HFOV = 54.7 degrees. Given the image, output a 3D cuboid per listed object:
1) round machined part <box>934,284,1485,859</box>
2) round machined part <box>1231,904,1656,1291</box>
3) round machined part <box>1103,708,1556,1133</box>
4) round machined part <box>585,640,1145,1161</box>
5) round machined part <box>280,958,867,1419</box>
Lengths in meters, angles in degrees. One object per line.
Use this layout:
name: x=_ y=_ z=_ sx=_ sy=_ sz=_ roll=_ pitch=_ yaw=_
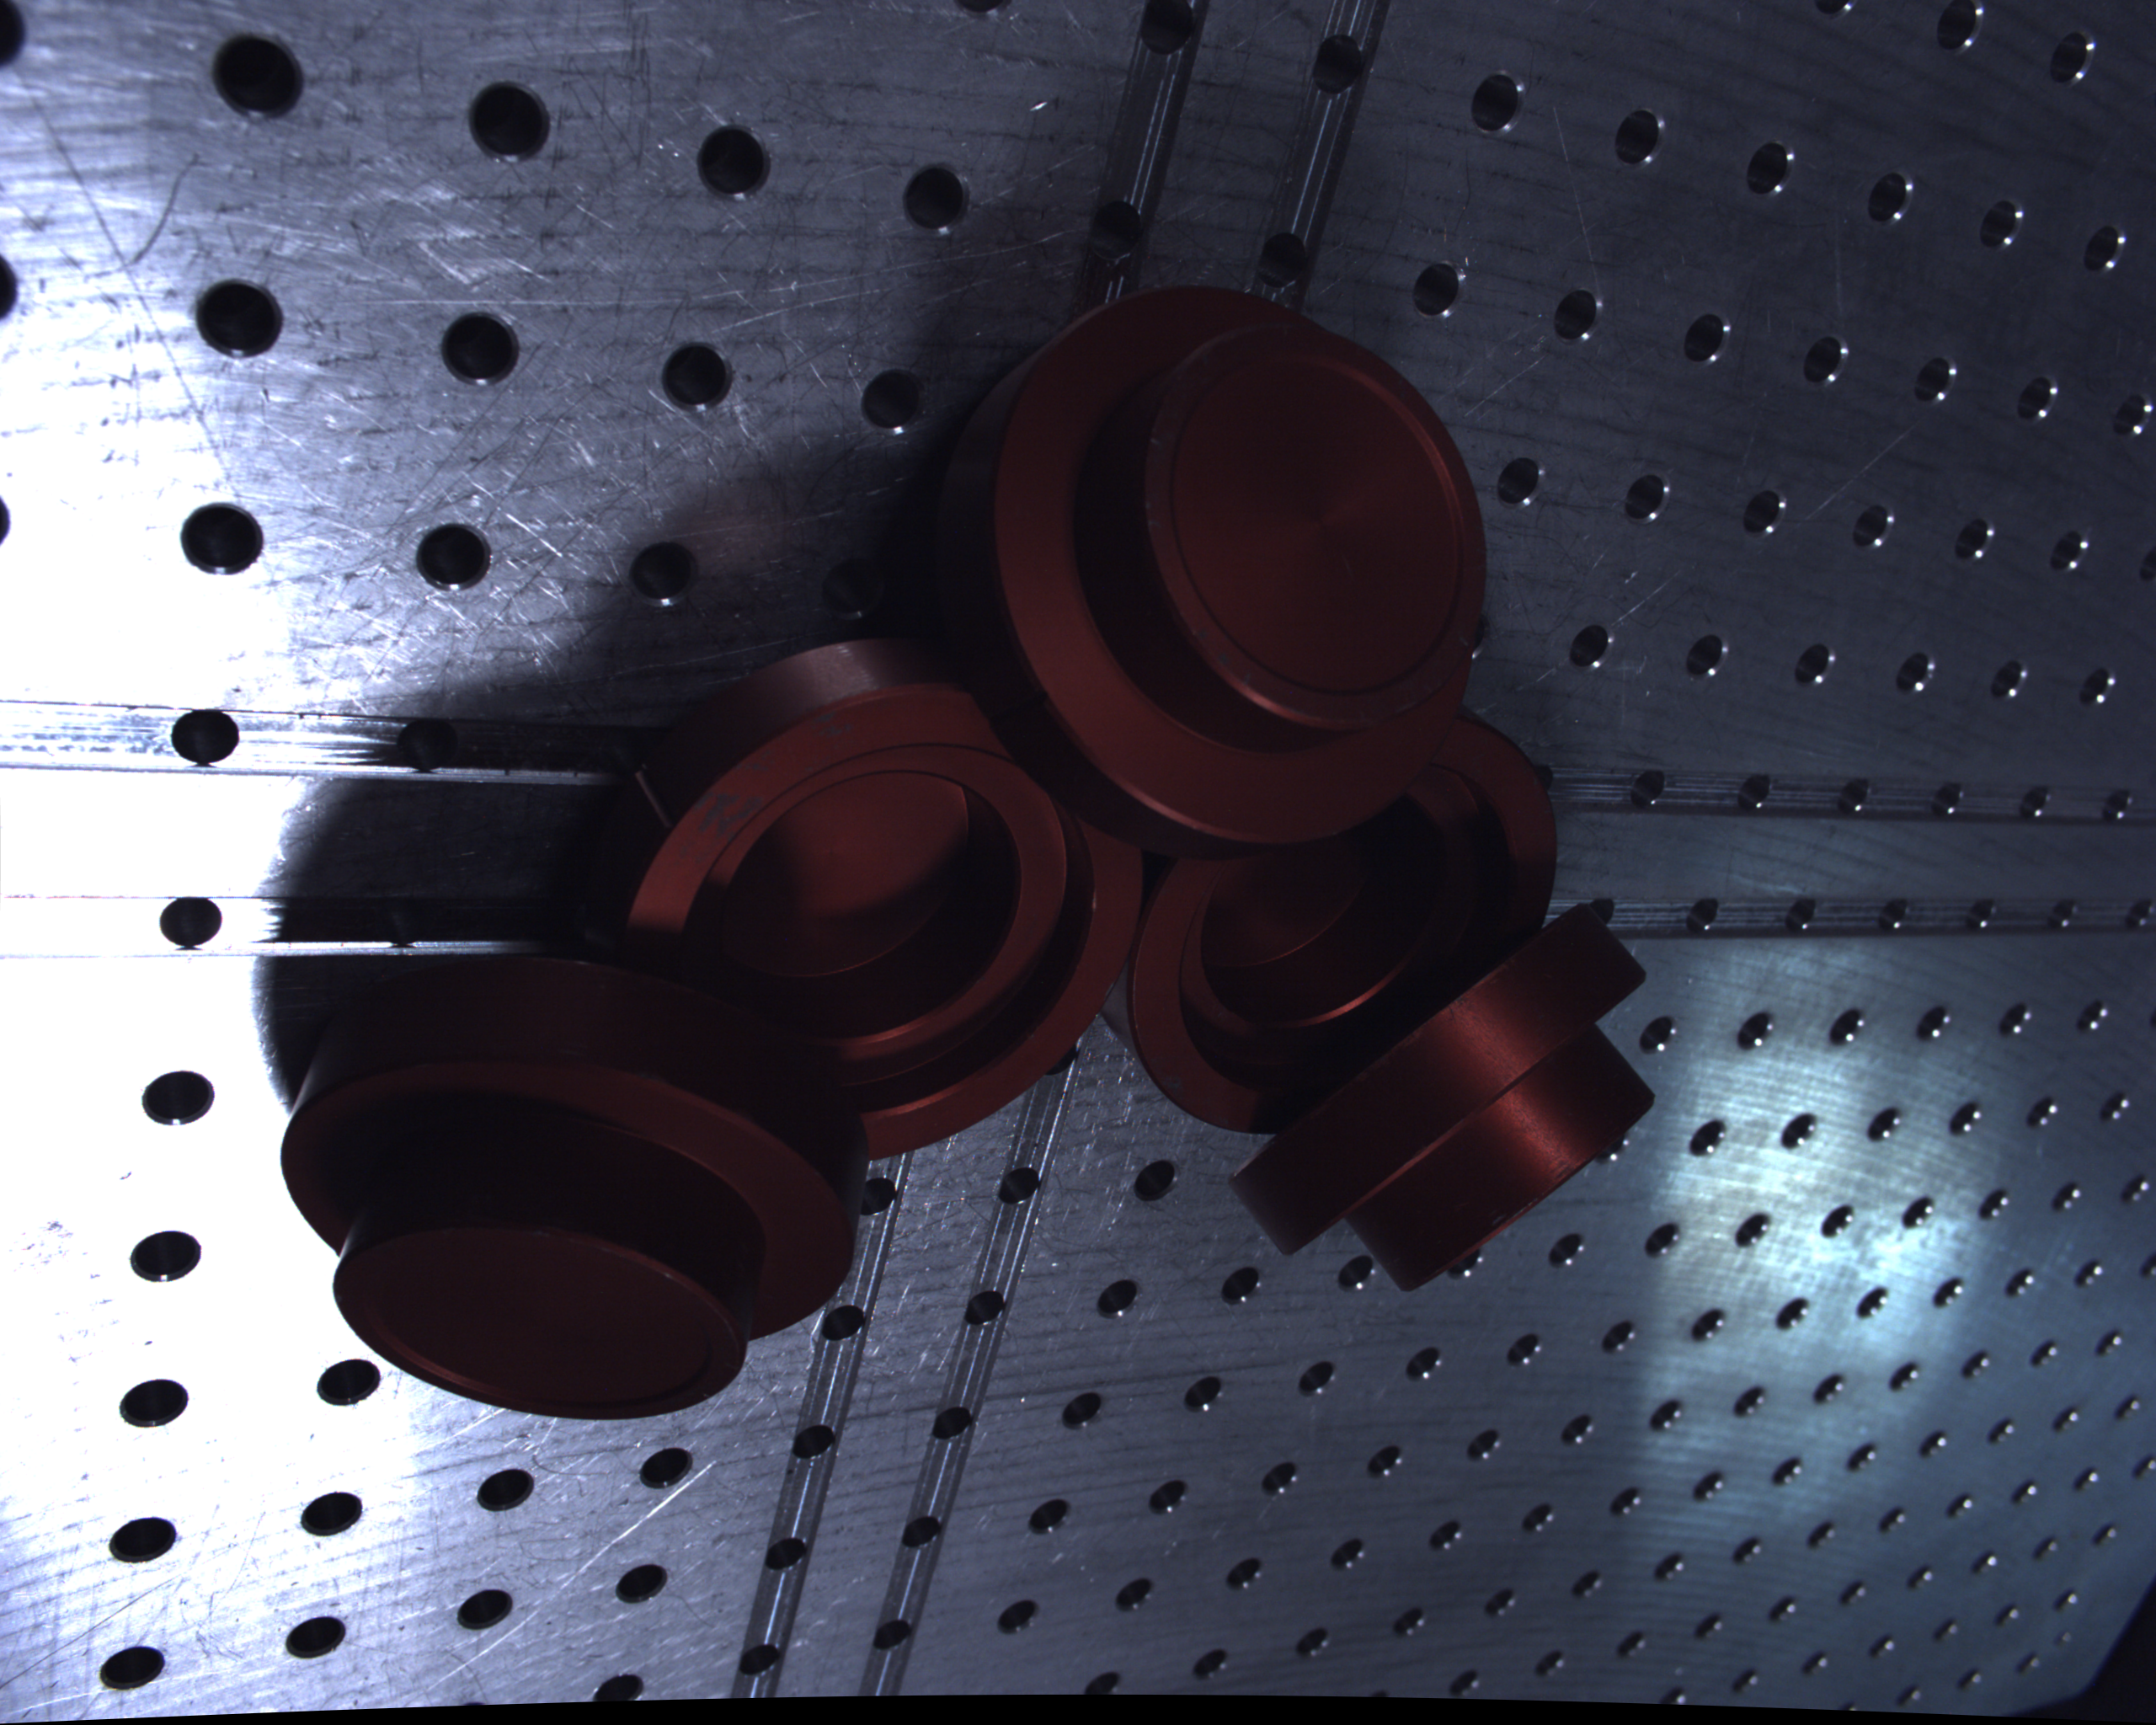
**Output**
round machined part: x=0.029 y=-0.052 z=0.352 sx=0.099 sy=0.042 sz=0.098 roll=6 pitch=78 yaw=-28
round machined part: x=0.084 y=0.055 z=0.447 sx=0.098 sy=0.042 sz=0.098 roll=-36 pitch=167 yaw=-9
round machined part: x=0.045 y=0.004 z=0.429 sx=0.099 sy=0.042 sz=0.097 roll=-14 pitch=125 yaw=-21
round machined part: x=-0.041 y=0.004 z=0.380 sx=0.099 sy=0.042 sz=0.097 roll=-14 pitch=125 yaw=-21
round machined part: x=-0.088 y=0.062 z=0.361 sx=0.099 sy=0.042 sz=0.097 roll=3 pitch=140 yaw=3
